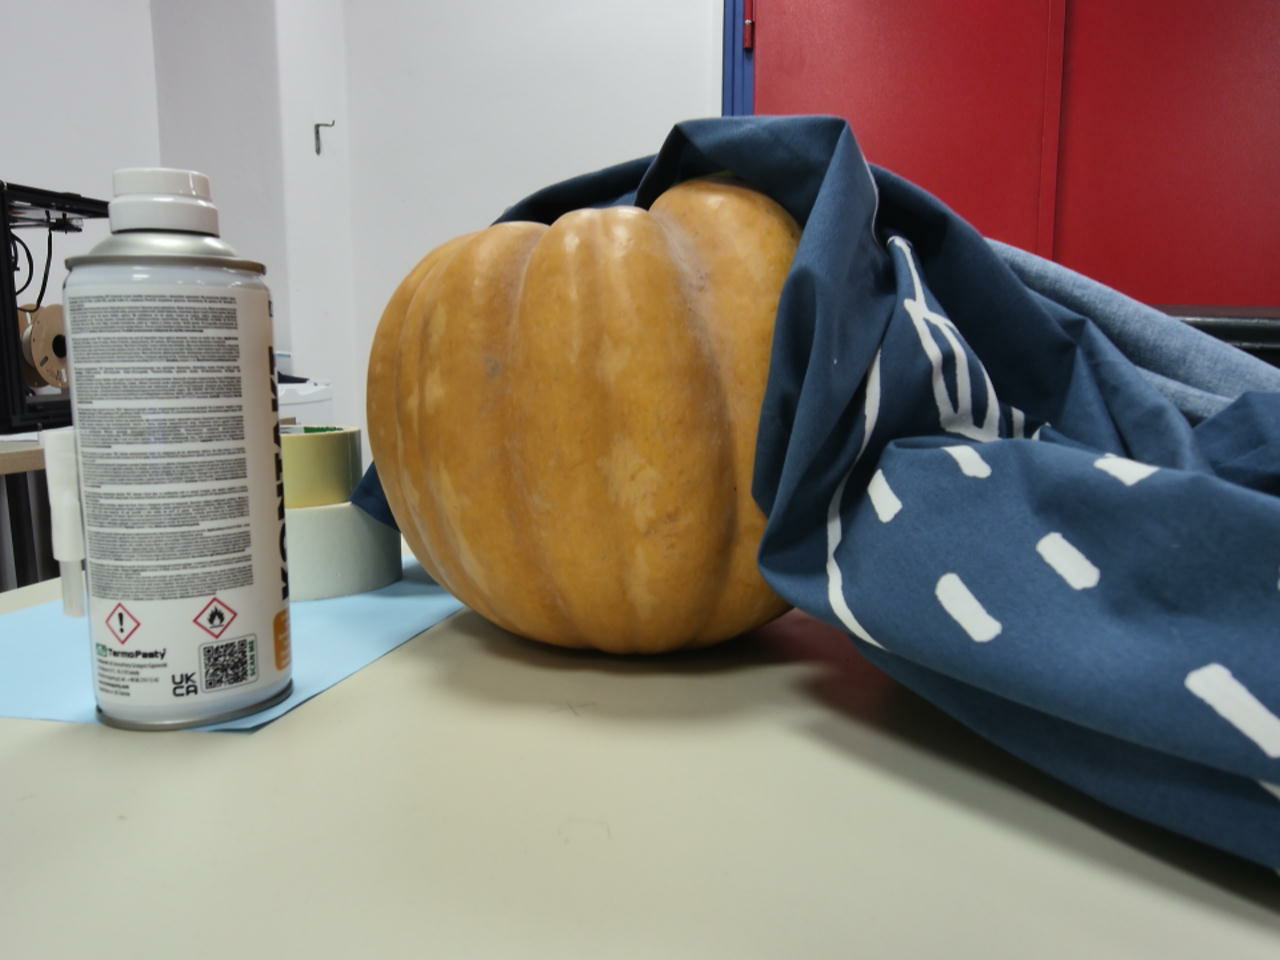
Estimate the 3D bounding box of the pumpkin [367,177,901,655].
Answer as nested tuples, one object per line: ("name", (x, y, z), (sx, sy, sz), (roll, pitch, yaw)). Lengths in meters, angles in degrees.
("pumpkin", (0.000, -0.026, 0.440), (0.230, 0.194, 0.230), (0, 4, 0))
